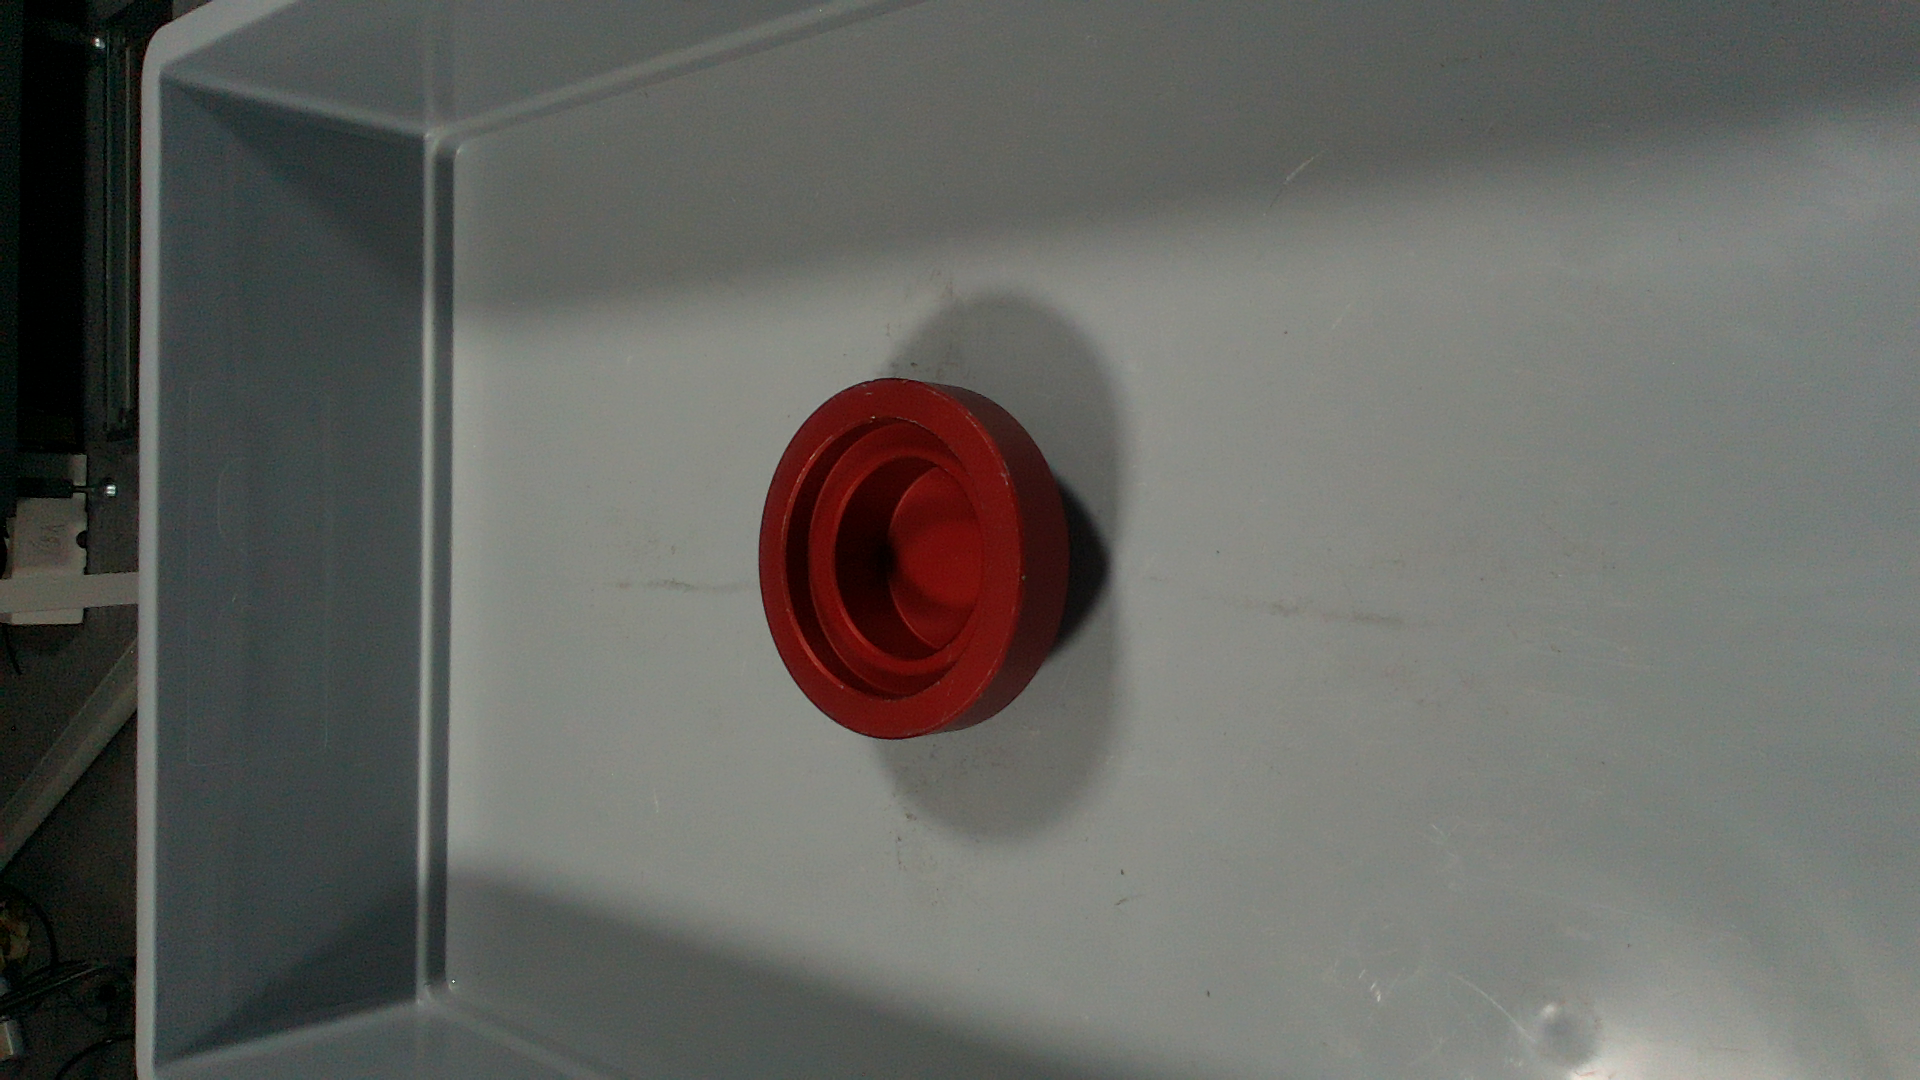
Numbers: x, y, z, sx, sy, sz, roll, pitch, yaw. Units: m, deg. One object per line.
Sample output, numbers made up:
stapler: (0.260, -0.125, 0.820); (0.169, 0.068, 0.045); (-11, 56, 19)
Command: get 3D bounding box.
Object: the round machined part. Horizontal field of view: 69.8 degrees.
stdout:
round machined part: (-0.009, 0.005, 0.387); (0.098, 0.042, 0.098); (0, 90, 40)
